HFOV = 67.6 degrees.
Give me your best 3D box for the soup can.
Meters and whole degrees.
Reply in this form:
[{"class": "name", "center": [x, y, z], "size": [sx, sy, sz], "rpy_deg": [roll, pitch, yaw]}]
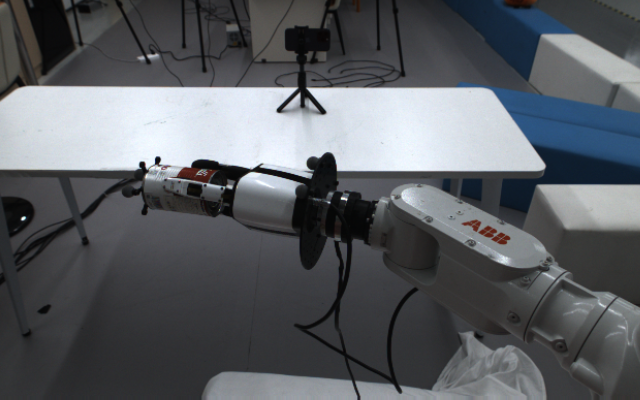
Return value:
[{"class": "soup can", "center": [-0.191, -0.013, 0.693], "size": [0.101, 0.067, 0.067], "rpy_deg": [6, 35, 12]}]
